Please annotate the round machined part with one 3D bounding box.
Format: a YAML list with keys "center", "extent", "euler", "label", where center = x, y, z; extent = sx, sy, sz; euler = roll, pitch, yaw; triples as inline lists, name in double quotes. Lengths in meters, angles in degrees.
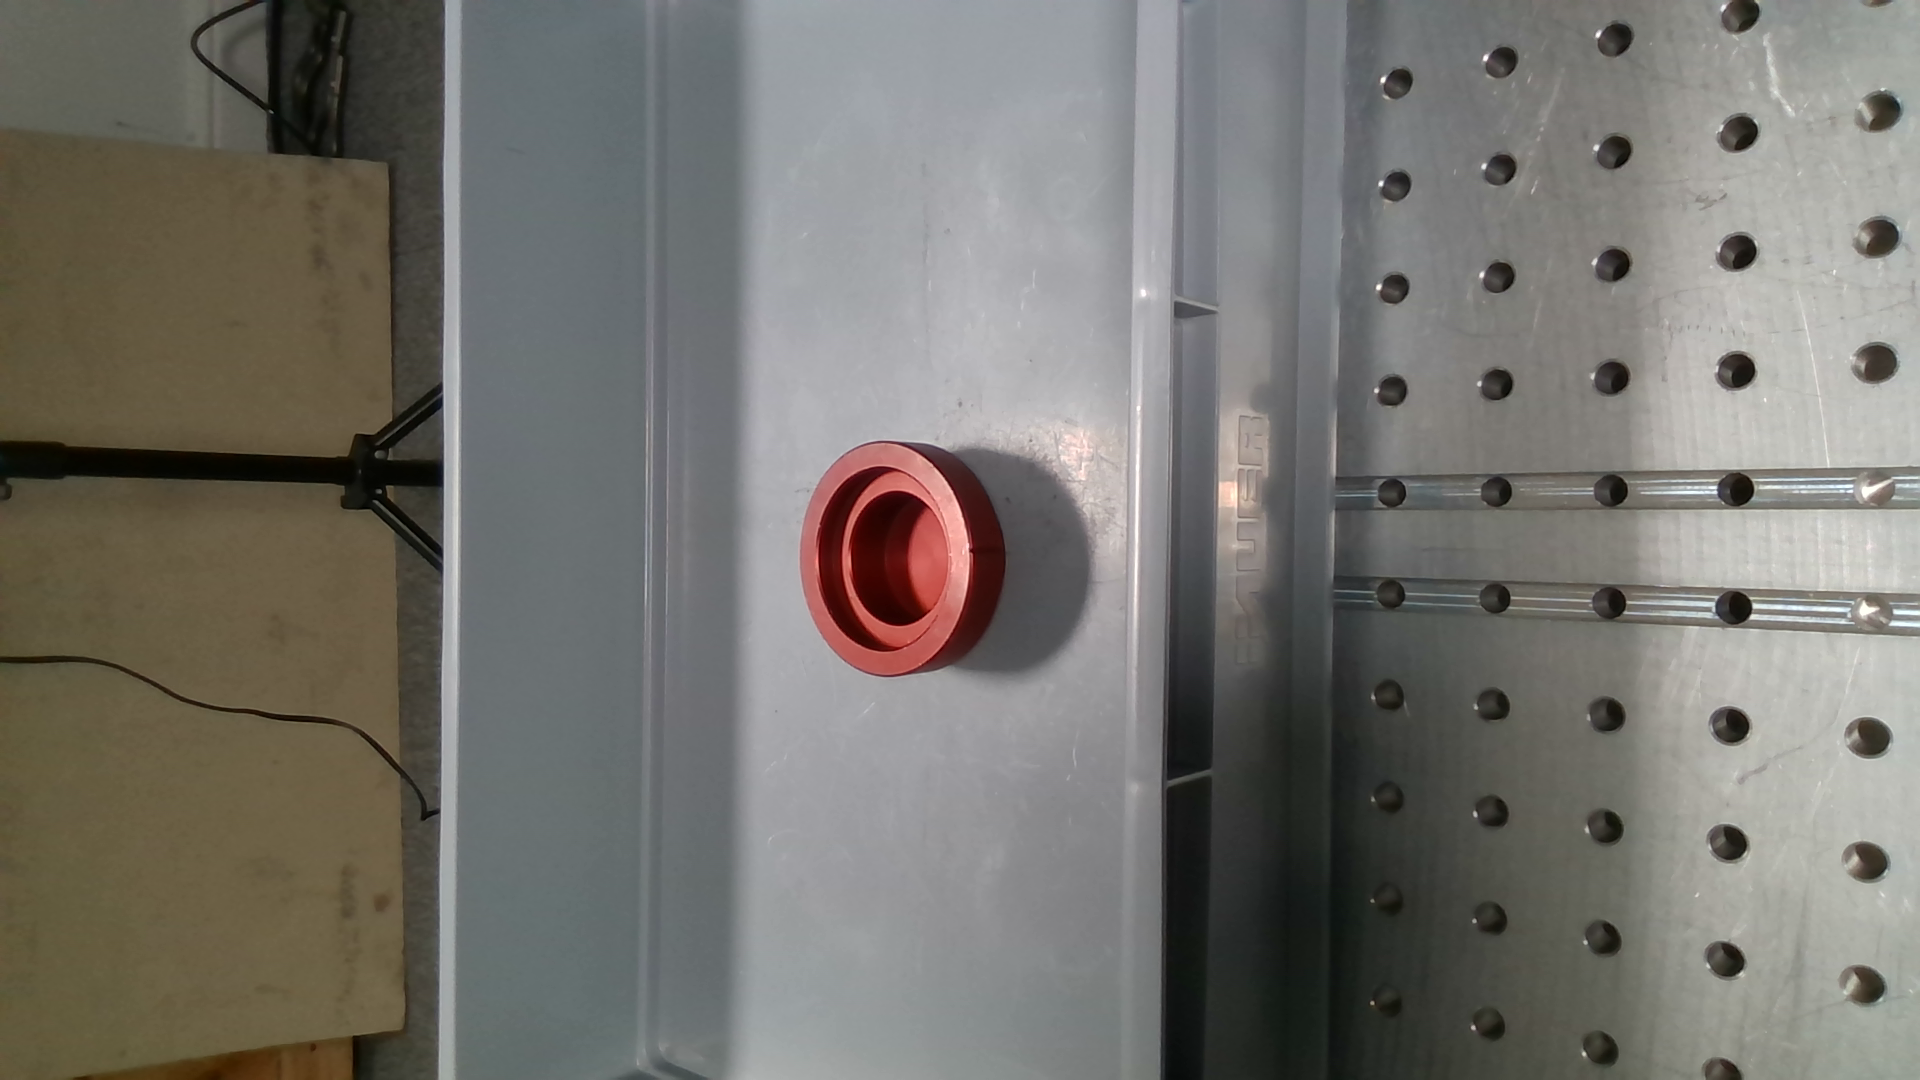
- center: [-0.020, 0.008, 0.584]
  extent: [0.098, 0.042, 0.098]
  euler: [0, 91, 40]
  label: "round machined part"
